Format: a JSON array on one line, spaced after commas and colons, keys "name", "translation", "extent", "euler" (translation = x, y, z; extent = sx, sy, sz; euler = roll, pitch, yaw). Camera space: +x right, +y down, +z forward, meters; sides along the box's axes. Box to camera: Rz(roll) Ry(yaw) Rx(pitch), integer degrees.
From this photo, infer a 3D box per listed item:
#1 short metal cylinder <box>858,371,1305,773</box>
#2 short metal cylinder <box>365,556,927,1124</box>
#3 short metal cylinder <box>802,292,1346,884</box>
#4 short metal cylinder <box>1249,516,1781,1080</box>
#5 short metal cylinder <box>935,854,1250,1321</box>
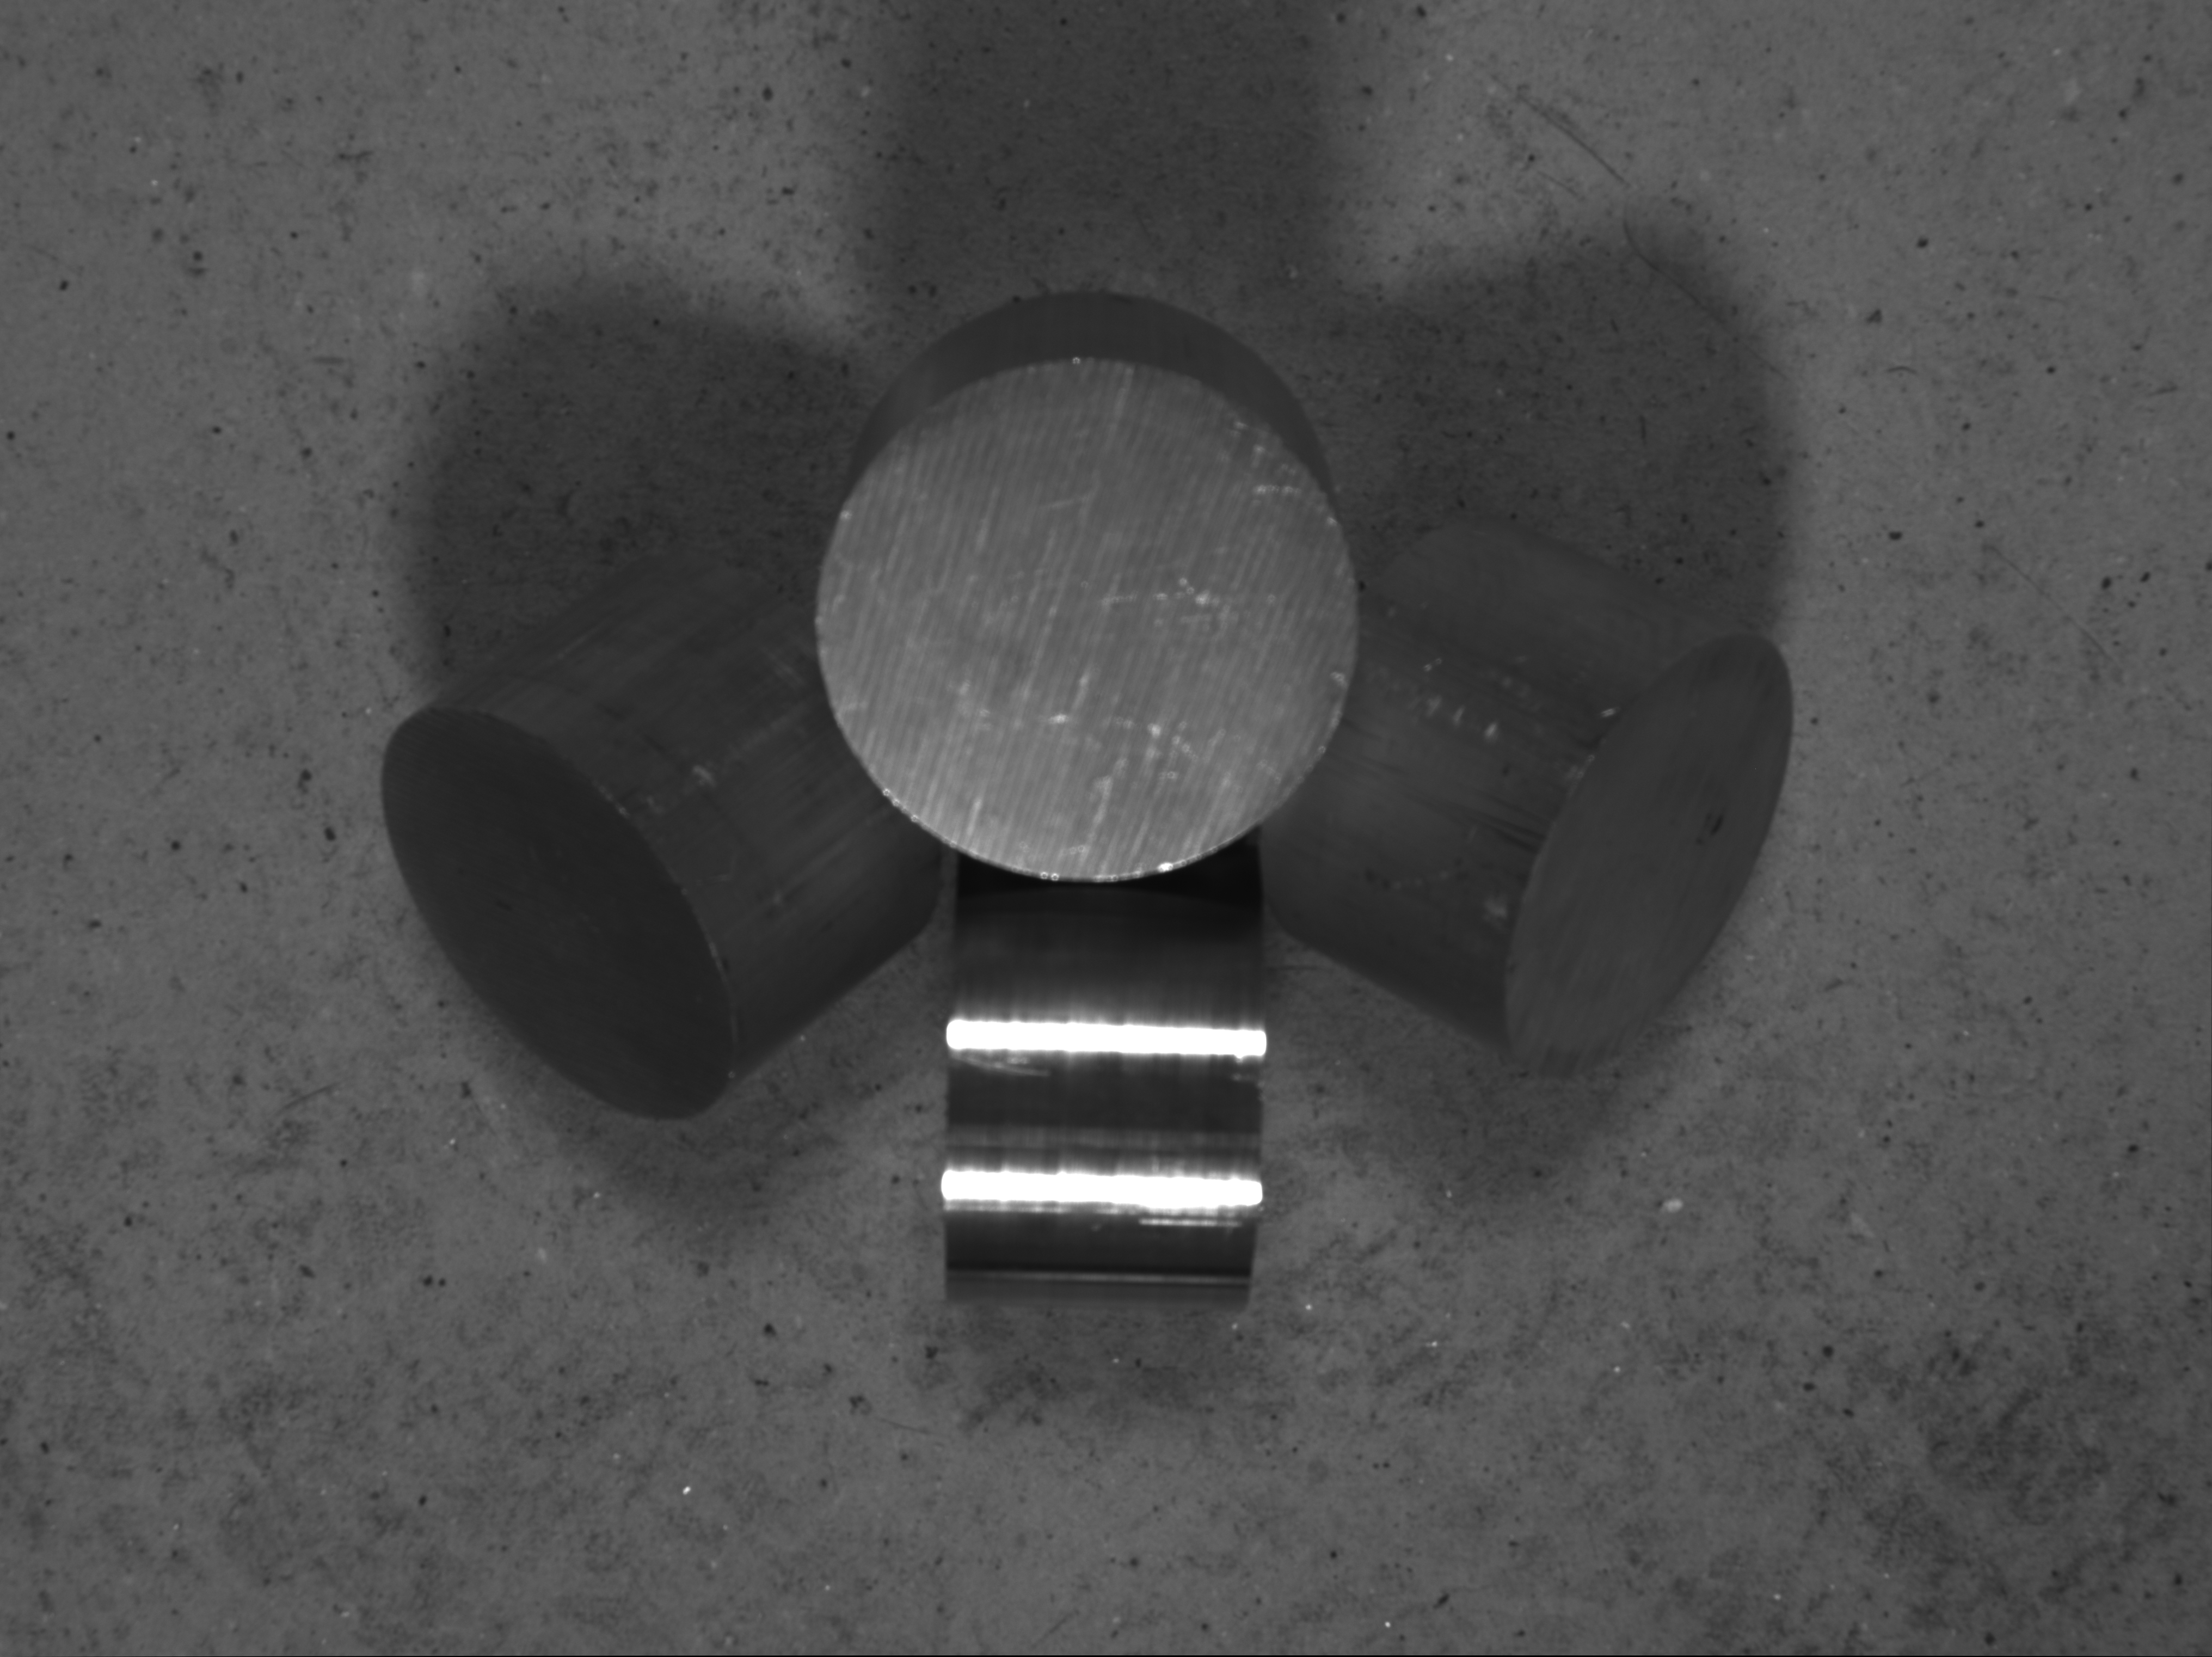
[{"name": "short metal cylinder", "translation": [-0.003, -0.038, 0.616], "extent": [0.080, 0.050, 0.080], "euler": [0, 110, -1]}, {"name": "short metal cylinder", "translation": [-0.076, 0.002, 0.608], "extent": [0.080, 0.050, 0.080], "euler": [28, 139, 28]}, {"name": "short metal cylinder", "translation": [-0.005, -0.038, 0.562], "extent": [0.080, 0.050, 0.080], "euler": [0, 110, -1]}, {"name": "short metal cylinder", "translation": [0.068, -0.005, 0.607], "extent": [0.050, 0.080, 0.080], "euler": [28, 112, 31]}, {"name": "short metal cylinder", "translation": [-0.003, 0.044, 0.629], "extent": [0.050, 0.080, 0.080], "euler": [2, 110, -1]}]
